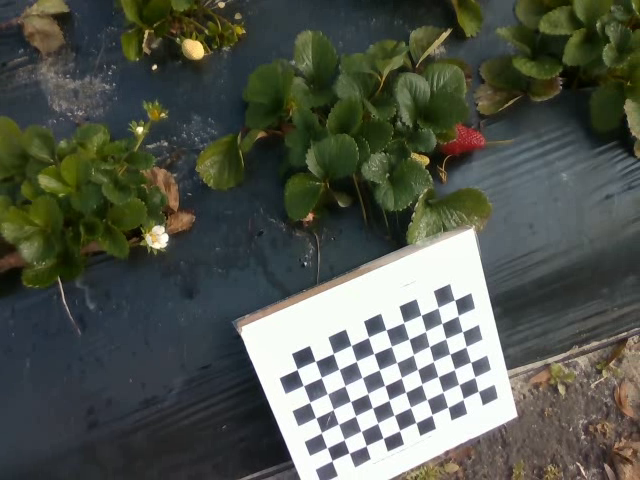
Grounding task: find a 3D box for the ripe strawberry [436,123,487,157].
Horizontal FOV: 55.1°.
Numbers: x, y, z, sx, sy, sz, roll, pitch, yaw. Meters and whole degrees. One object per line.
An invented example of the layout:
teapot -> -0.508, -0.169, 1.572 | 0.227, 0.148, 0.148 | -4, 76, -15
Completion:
ripe strawberry -> 0.164, -0.113, 0.693 | 0.064, 0.050, 0.043 | 10, 12, -17
